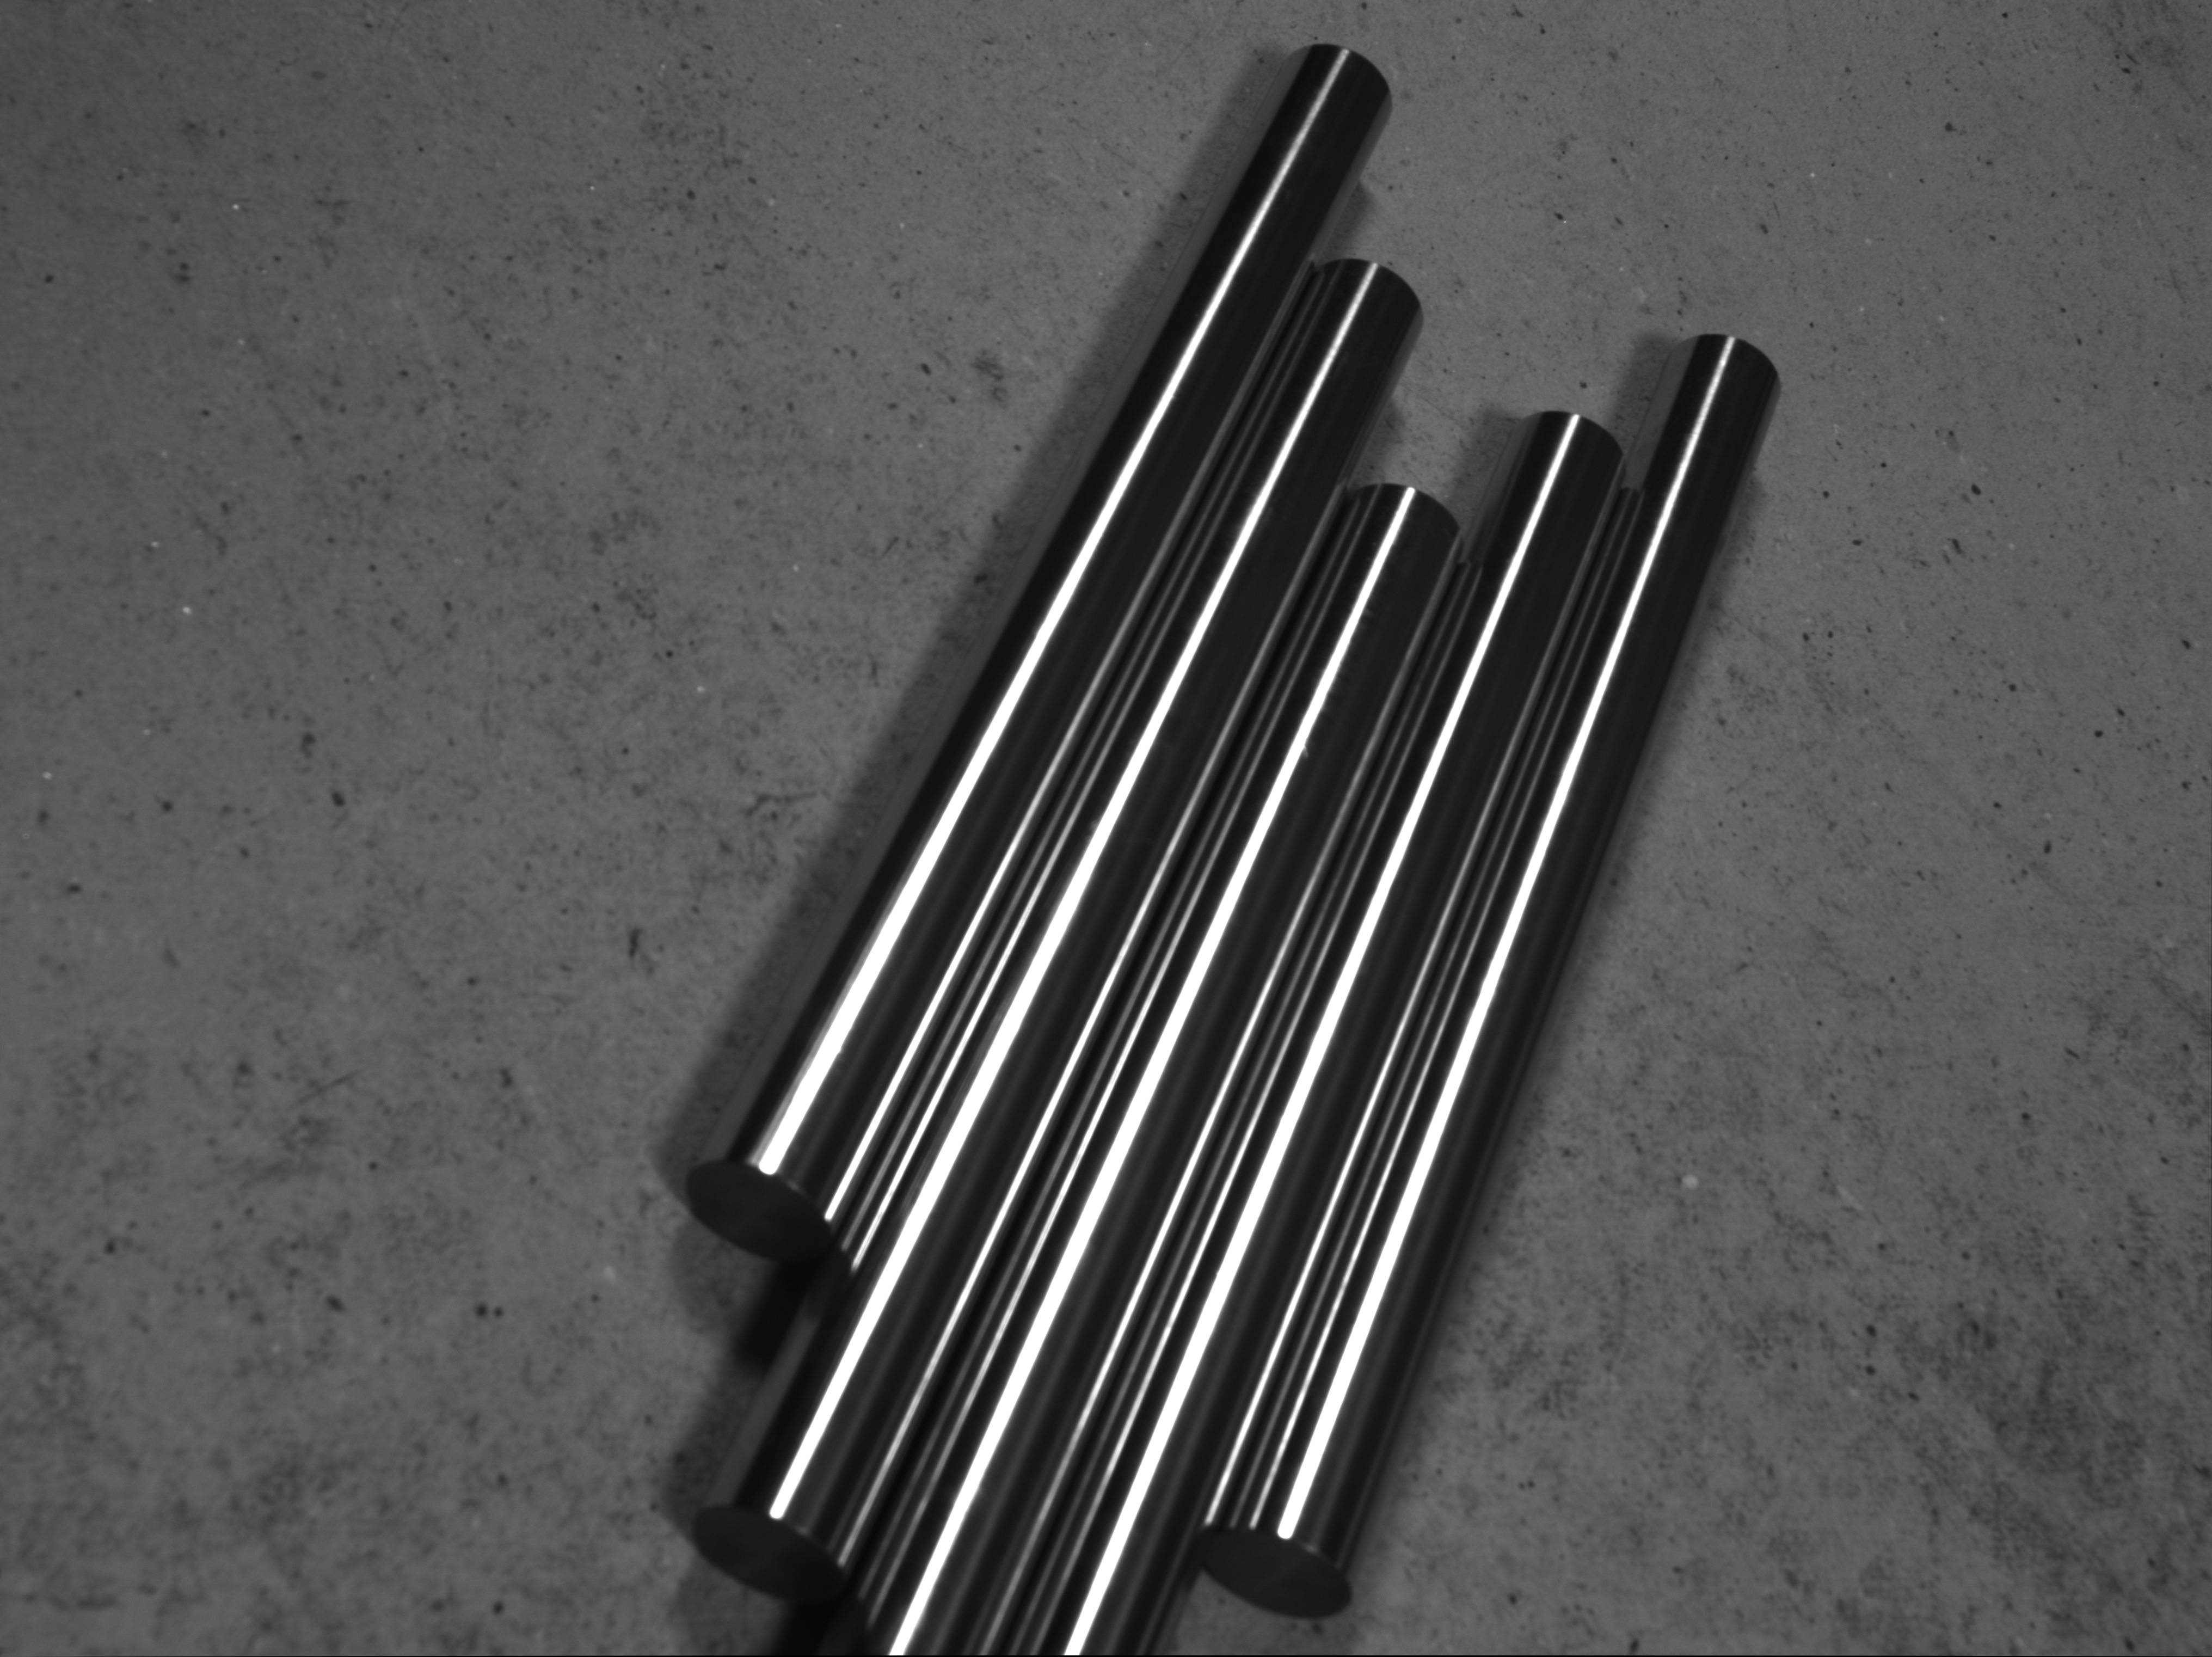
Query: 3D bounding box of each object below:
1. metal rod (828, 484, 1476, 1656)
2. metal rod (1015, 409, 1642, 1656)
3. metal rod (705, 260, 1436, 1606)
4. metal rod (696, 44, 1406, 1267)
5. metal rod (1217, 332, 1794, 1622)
[{"bbox_3d":[0.008,0.049,0.614,0.025,0.025,0.300,32,52,-8],"label":"metal rod"},{"bbox_3d":[0.044,0.032,0.644,0.025,0.025,0.300,32,52,-8],"label":"metal rod"},{"bbox_3d":[0.003,0.003,0.640,0.025,0.025,0.300,32,52,-8],"label":"metal rod"},{"bbox_3d":[-0.001,-0.046,0.667,0.025,0.025,0.300,32,52,-8],"label":"metal rod"},{"bbox_3d":[0.080,0.012,0.675,0.025,0.025,0.300,32,52,-8],"label":"metal rod"}]
